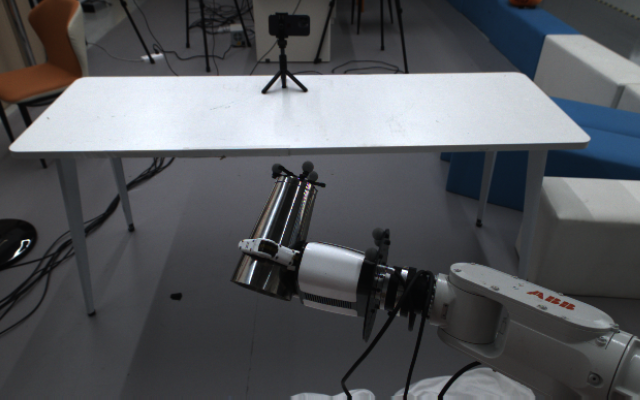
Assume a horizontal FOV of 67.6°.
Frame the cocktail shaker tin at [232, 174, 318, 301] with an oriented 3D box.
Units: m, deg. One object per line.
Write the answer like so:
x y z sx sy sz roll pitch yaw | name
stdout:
-0.062 0.054 0.718 0.093 0.093 0.170 14 73 16 | cocktail shaker tin
